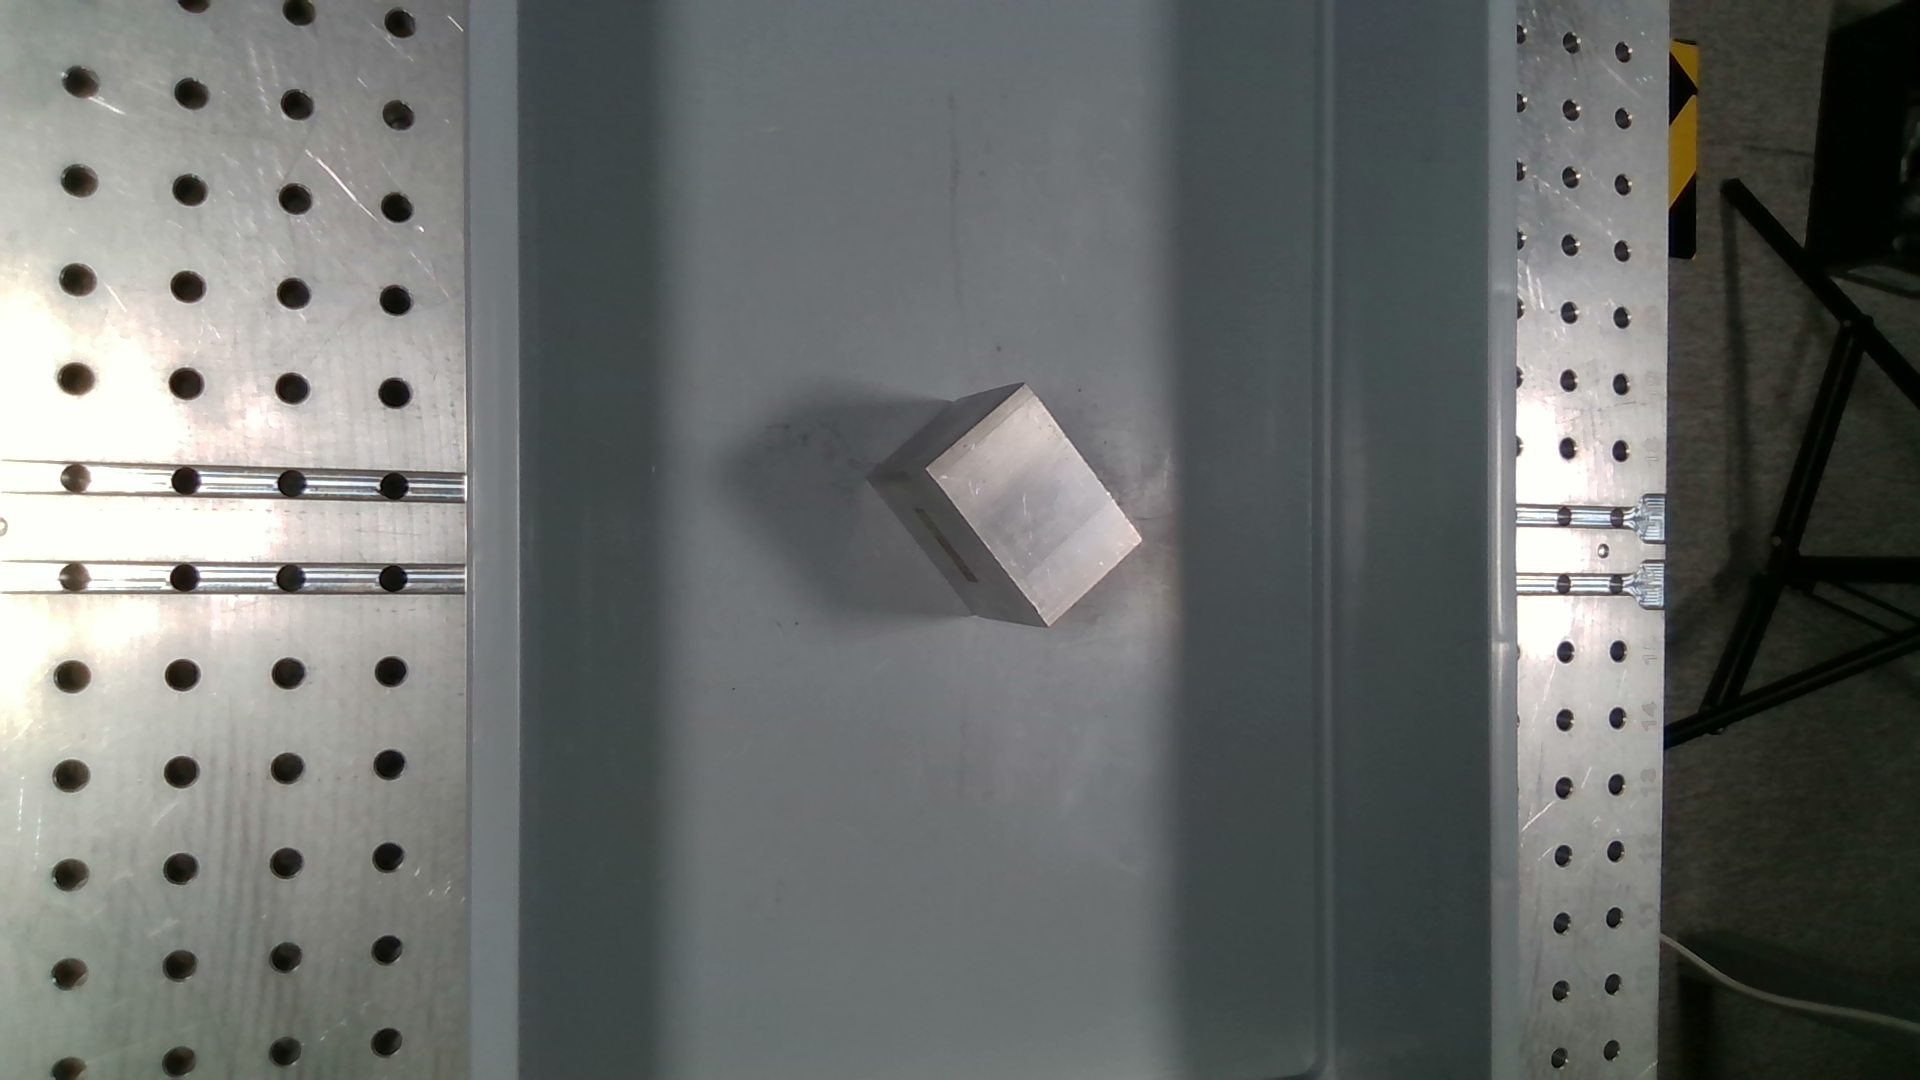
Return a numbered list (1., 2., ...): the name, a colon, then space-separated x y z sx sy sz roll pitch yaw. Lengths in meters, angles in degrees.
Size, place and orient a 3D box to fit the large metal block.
1. large metal block: 0.016 -0.013 0.560 0.050 0.080 0.080 -42 103 -15
